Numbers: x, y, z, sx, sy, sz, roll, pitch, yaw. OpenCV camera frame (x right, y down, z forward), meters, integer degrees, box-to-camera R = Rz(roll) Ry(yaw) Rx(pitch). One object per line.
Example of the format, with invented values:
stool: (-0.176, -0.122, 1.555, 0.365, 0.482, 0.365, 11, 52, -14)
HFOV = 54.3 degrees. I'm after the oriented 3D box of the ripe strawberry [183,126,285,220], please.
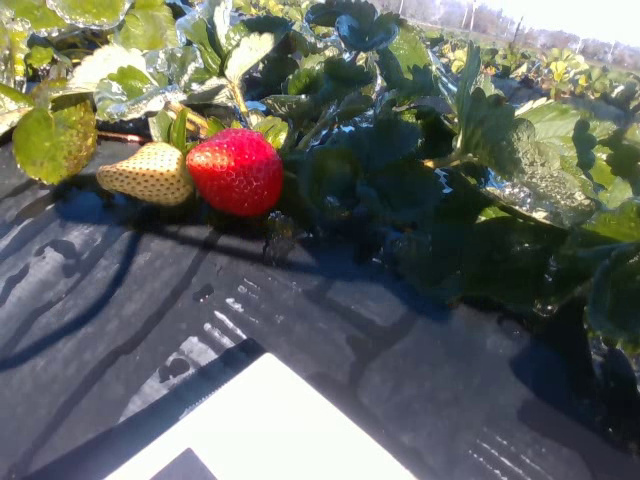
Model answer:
ripe strawberry: (-0.043, -0.030, 0.284, 0.042, 0.046, 0.061, 17, 7, 29)
